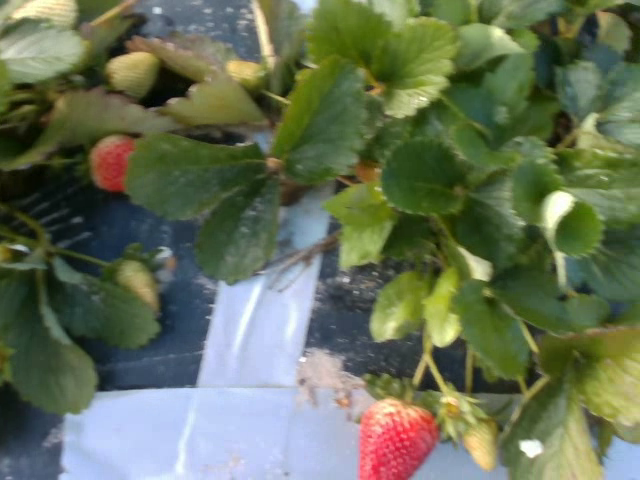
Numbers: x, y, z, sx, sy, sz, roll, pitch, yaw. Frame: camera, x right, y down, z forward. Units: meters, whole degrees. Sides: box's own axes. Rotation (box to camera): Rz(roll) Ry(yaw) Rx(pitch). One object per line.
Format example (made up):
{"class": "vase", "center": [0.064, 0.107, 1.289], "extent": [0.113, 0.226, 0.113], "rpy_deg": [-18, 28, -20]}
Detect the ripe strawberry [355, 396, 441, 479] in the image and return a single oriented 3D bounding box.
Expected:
{"class": "ripe strawberry", "center": [0.019, 0.052, 0.130], "extent": [0.023, 0.026, 0.021], "rpy_deg": [16, -30, 19]}
